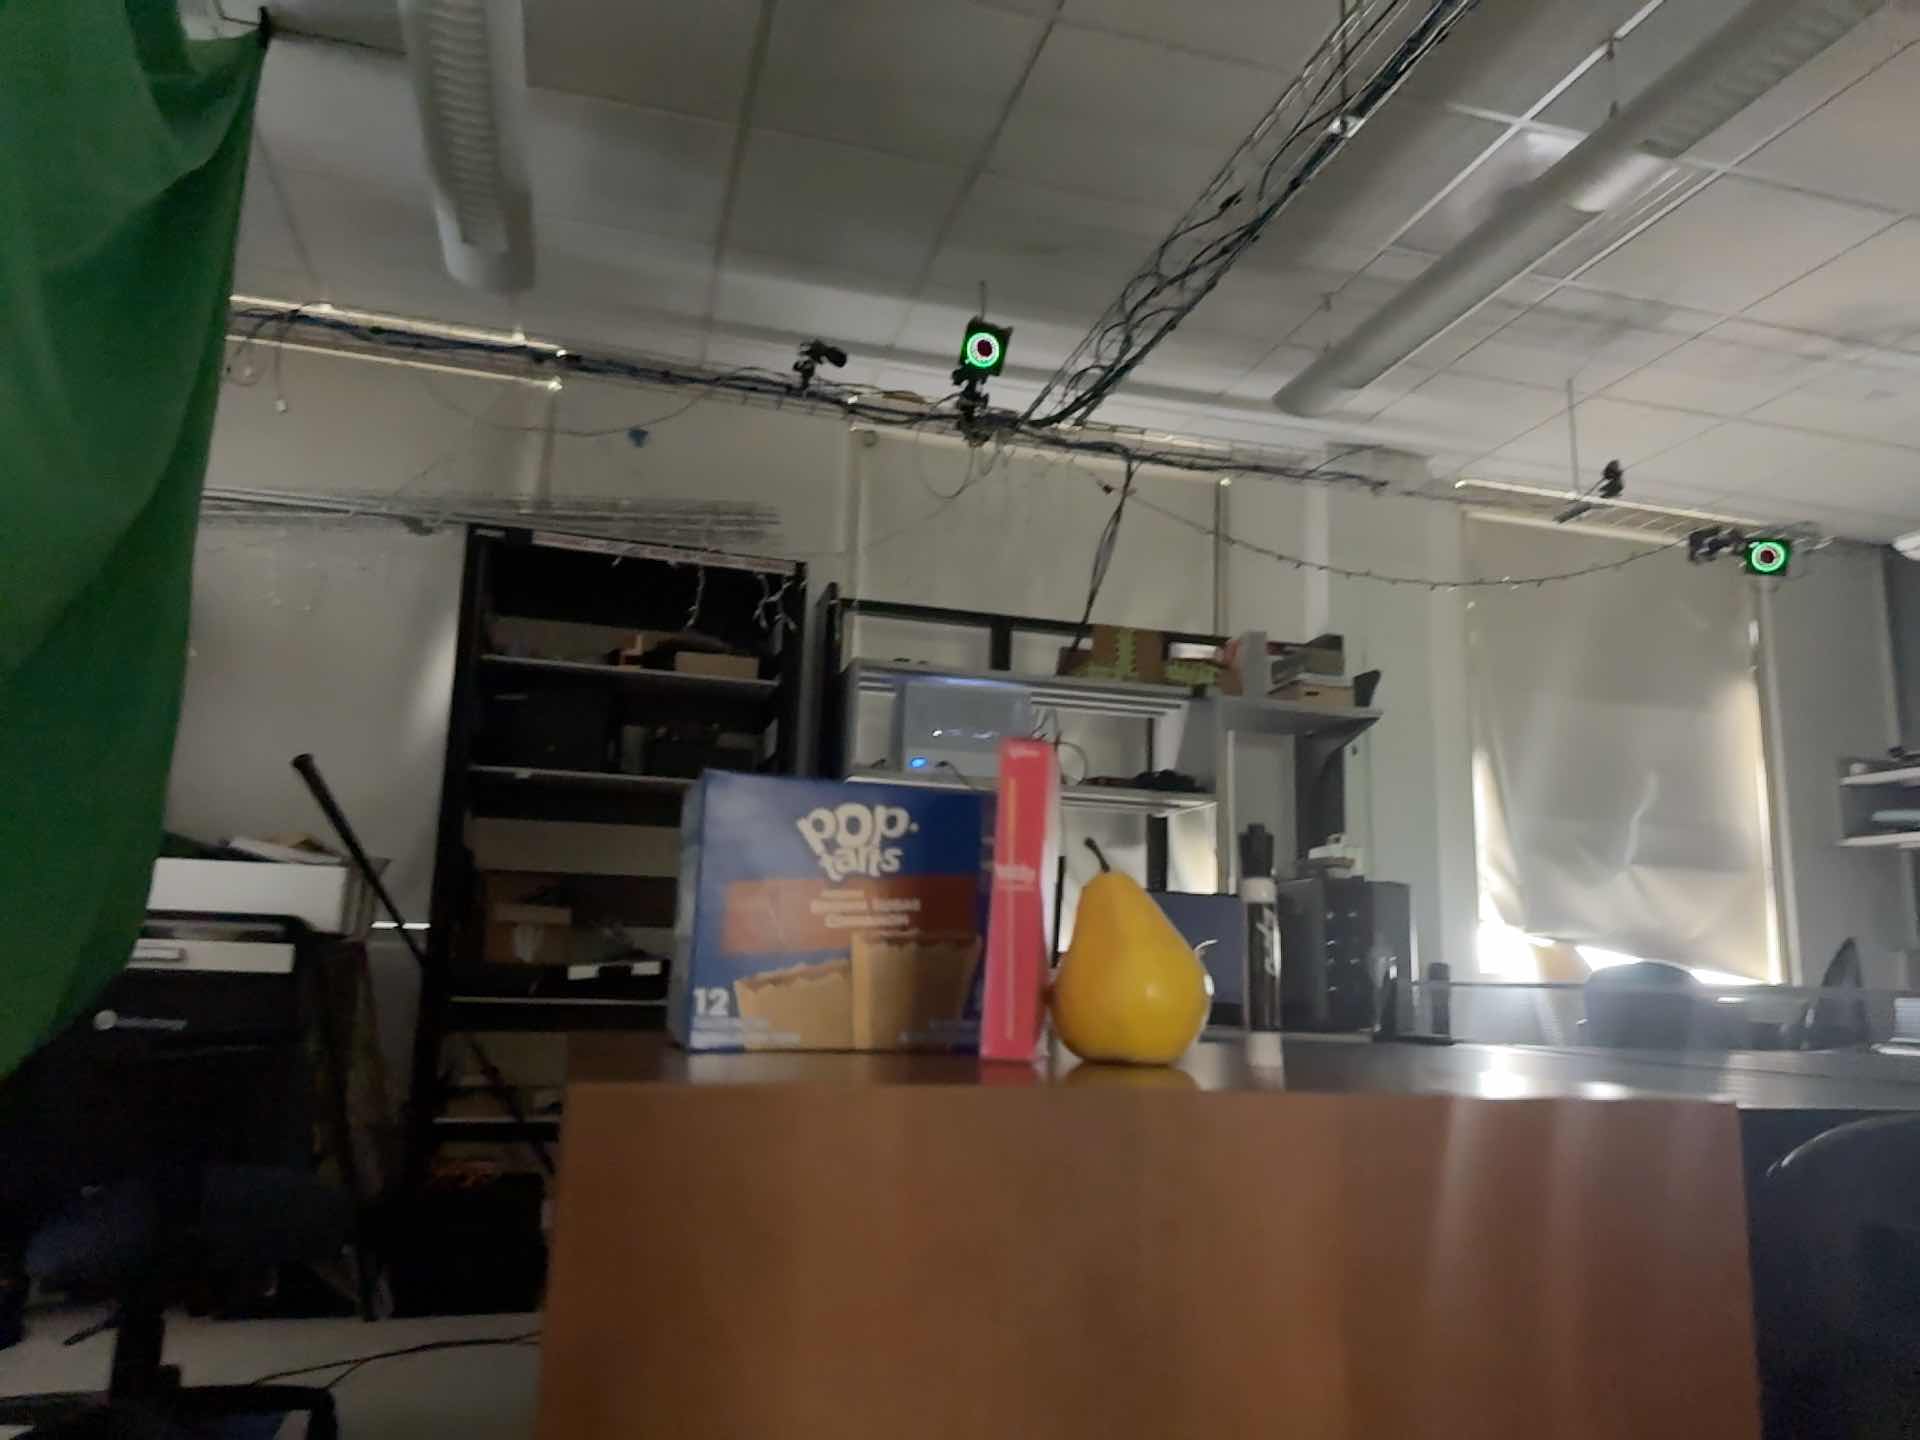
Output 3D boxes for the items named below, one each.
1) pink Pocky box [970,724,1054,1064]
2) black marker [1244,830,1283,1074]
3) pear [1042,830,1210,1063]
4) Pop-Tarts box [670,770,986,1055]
[{"bbox_3d":[0.027,0.084,0.652,0.029,0.155,0.084,2,-9,7],"label":"pink Pocky box"},{"bbox_3d":[0.154,0.117,0.684,0.020,0.121,0.020,2,-9,0],"label":"black marker"},{"bbox_3d":[0.080,0.109,0.656,0.080,0.111,0.080,2,-11,0],"label":"pear"},{"bbox_3d":[-0.065,0.106,0.721,0.161,0.135,0.075,5,-12,-18],"label":"Pop-Tarts box"}]
